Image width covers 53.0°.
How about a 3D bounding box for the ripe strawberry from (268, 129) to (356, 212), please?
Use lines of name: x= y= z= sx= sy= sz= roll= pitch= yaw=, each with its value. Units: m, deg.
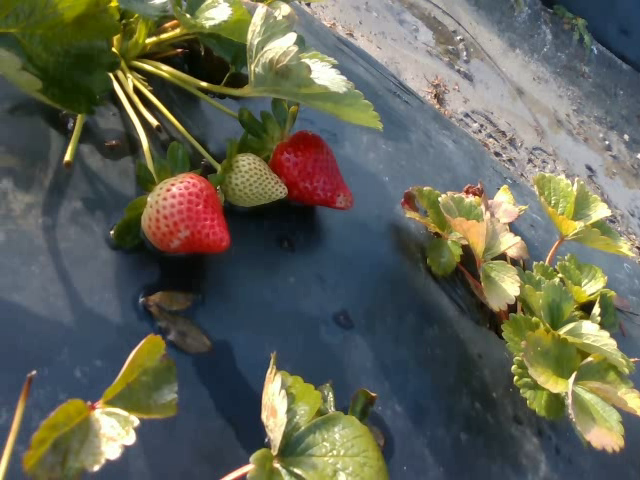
ripe strawberry: x=-0.002 y=-0.037 z=0.373 sx=0.048 sy=0.065 sz=0.050 roll=-42 pitch=2 yaw=-6
